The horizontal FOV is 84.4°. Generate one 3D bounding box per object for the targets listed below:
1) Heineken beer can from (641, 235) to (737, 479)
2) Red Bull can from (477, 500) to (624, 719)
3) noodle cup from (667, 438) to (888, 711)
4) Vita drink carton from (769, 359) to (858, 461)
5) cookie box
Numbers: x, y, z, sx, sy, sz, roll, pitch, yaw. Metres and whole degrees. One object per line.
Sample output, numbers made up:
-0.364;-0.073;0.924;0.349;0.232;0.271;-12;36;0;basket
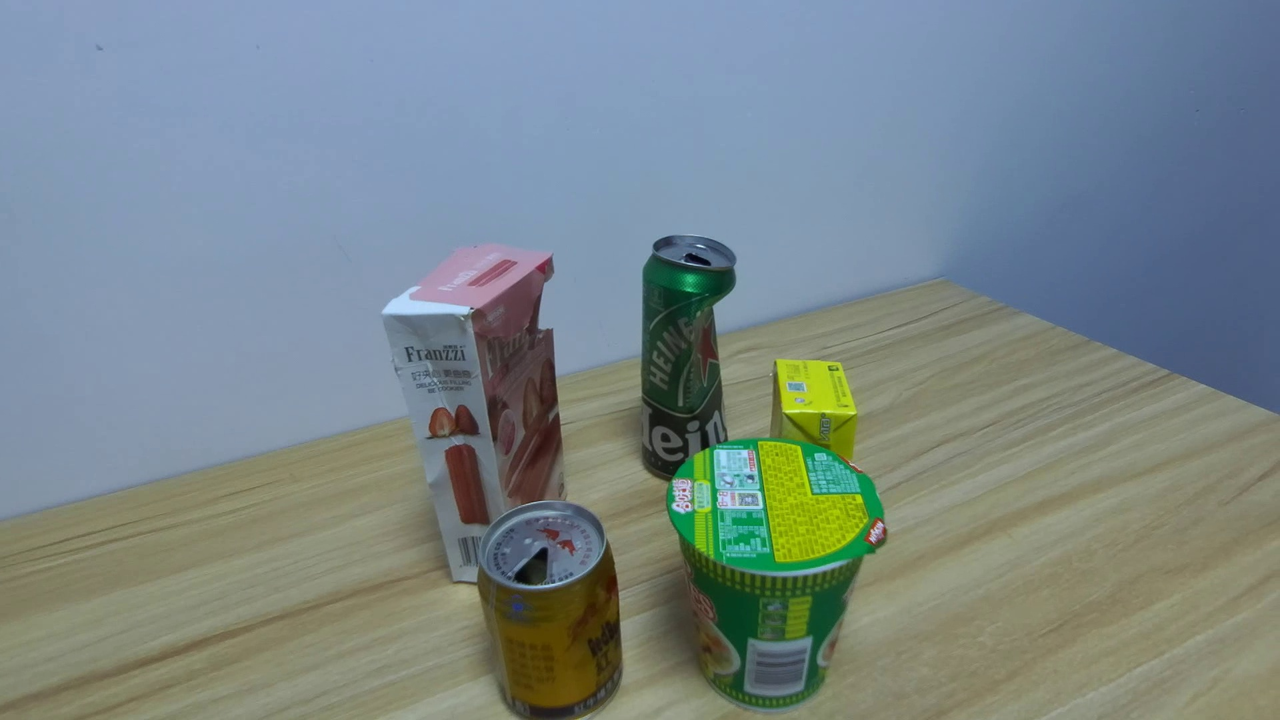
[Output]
0.035;0.003;0.493;0.068;0.168;0.069;-12;29;-25;Heineken beer can
-0.043;0.124;0.350;0.068;0.093;0.068;-2;28;1;Red Bull can
0.064;0.113;0.353;0.097;0.110;0.097;-2;27;1;noodle cup
0.103;0.059;0.438;0.043;0.109;0.076;1;28;6;Vita drink carton
-0.089;0.036;0.424;0.059;0.186;0.105;7;29;13;cookie box
